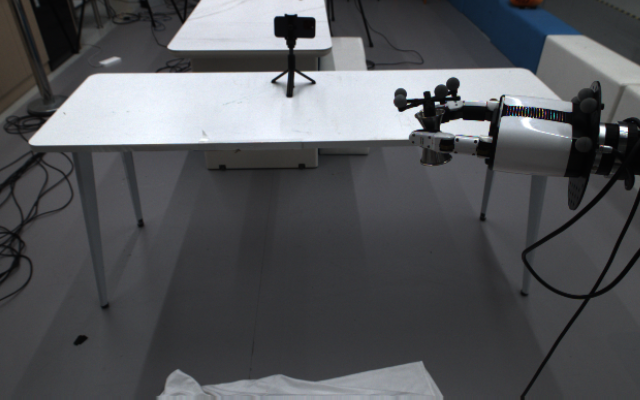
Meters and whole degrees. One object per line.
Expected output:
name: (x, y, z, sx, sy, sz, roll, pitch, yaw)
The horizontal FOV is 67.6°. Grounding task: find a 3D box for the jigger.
jigger: (0.154, -0.086, 0.661, 0.043, 0.071, 0.043, -11, 24, 5)
